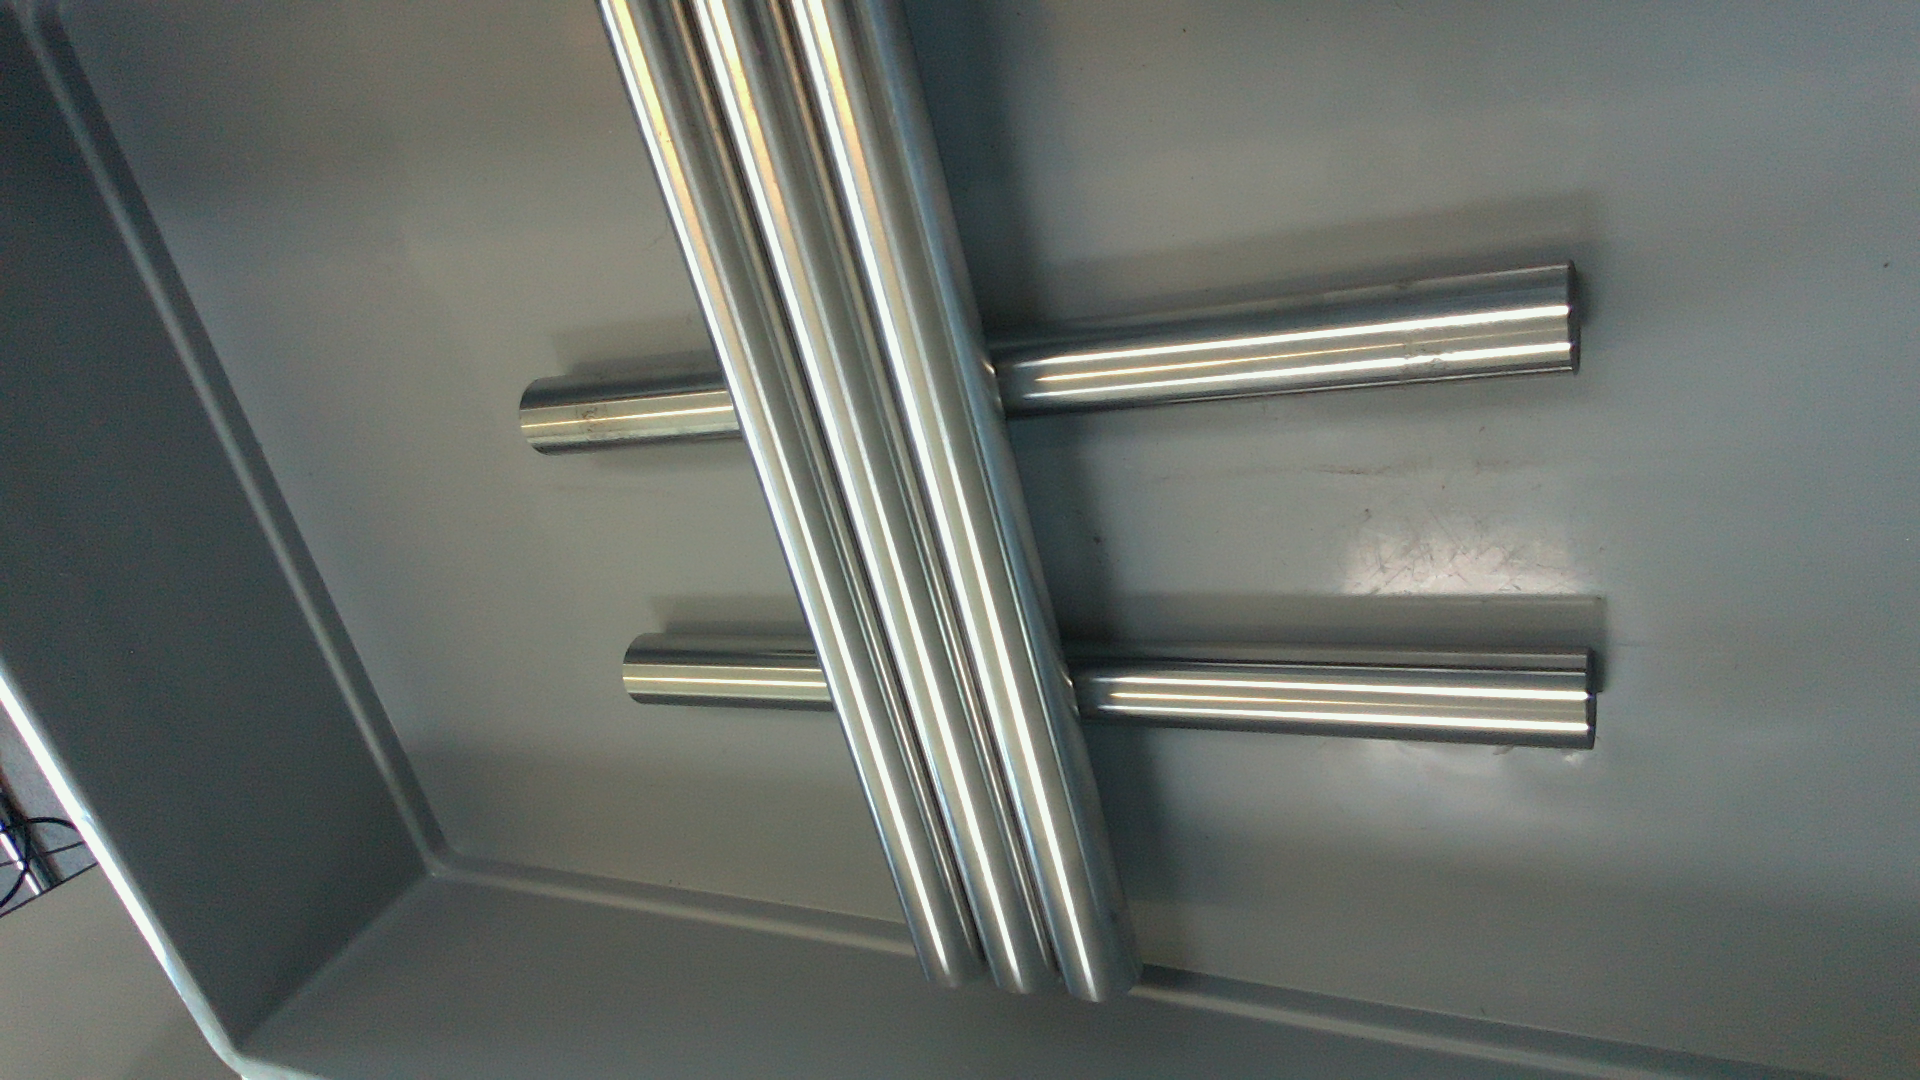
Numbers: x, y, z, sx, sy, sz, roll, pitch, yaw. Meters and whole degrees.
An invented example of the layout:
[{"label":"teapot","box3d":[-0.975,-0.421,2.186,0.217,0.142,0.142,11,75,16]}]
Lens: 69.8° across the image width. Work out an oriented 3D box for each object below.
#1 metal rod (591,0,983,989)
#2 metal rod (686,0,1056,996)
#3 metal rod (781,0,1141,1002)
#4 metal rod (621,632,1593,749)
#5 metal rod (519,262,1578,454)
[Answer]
[{"label":"metal rod","box3d":[-0.037,0.003,0.380,0.025,0.025,0.300,-1,118,29]},{"label":"metal rod","box3d":[-0.015,0.001,0.367,0.025,0.025,0.300,-1,118,29]},{"label":"metal rod","box3d":[0.006,-0.001,0.354,0.025,0.025,0.300,-1,118,29]},{"label":"metal rod","box3d":[0.022,0.041,0.406,0.299,0.025,0.025,-1,118,29]},{"label":"metal rod","box3d":[0.000,-0.043,0.366,0.299,0.025,0.025,-2,118,29]}]
